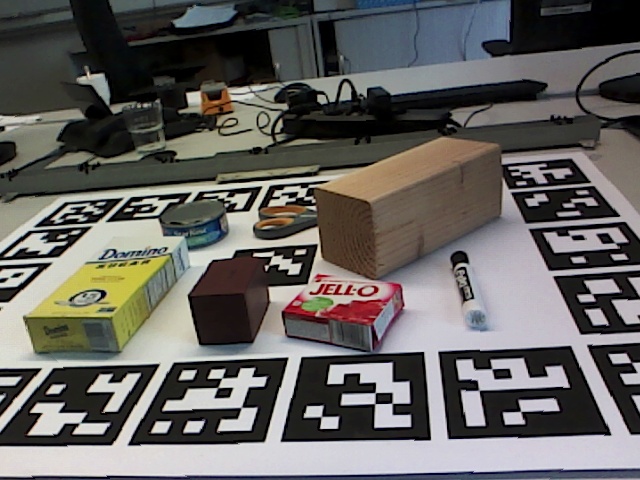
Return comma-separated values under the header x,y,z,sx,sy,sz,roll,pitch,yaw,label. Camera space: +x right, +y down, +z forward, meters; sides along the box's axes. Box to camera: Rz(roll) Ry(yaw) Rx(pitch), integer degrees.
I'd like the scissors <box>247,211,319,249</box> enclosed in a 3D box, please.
x,y,z,sx,sy,sz,roll,pitch,yaw,label
0.003,-0.018,0.786,0.203,0.016,0.087,-3,27,17,scissors

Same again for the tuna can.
x,y,z,sx,sy,sz,roll,pitch,yaw,label
-0.170,-0.010,0.803,0.086,0.033,0.086,-8,27,4,tuna can

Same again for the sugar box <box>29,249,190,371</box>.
x,y,z,sx,sy,sz,roll,pitch,yaw,label
-0.214,0.068,0.657,0.093,0.045,0.176,-2,27,13,sugar box

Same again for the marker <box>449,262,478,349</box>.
x,y,z,sx,sy,sz,roll,pitch,yaw,label
0.134,0.057,0.583,0.020,0.019,0.121,-4,29,10,marker

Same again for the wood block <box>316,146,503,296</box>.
x,y,z,sx,sy,sz,roll,pitch,yaw,label
0.107,-0.028,0.696,0.205,0.090,0.090,-26,30,-32,wood block

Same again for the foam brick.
x,y,z,sx,sy,sz,roll,pitch,yaw,label
-0.081,0.073,0.584,0.053,0.051,0.078,-4,27,11,foam brick

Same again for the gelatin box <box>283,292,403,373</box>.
x,y,z,sx,sy,sz,roll,pitch,yaw,label
0.022,0.081,0.564,0.090,0.030,0.073,4,30,26,gelatin box
